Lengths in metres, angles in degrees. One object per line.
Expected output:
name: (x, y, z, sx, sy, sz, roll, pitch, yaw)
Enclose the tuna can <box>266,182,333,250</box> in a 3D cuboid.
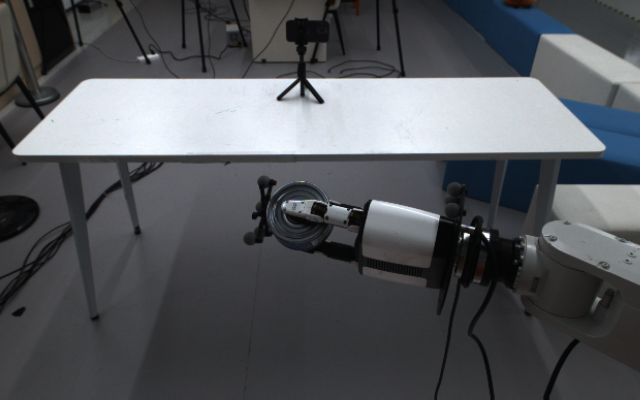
tuna can: (-0.022, 0.023, 0.620, 0.085, 0.034, 0.085, -2, 69, 6)
